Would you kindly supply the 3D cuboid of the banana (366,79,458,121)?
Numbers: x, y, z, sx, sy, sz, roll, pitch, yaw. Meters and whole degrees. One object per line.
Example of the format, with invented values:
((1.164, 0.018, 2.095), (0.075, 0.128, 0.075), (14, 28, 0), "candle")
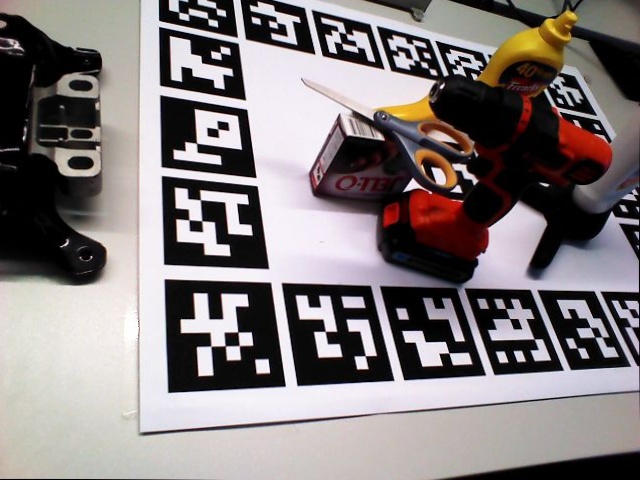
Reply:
((0.146, -0.201, 0.716), (0.074, 0.039, 0.196), (34, 50, 20), "banana")

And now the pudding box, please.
((0.056, -0.089, 0.575), (0.113, 0.090, 0.038), (8, 50, -22), "pudding box")

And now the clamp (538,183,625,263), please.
((0.342, -0.048, 0.702), (0.202, 0.037, 0.165), (-2, 63, -28), "clamp")

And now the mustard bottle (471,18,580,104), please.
((0.272, -0.216, 0.701), (0.096, 0.193, 0.058), (17, 54, -17), "mustard bottle")

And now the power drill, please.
((0.152, -0.052, 0.498), (0.184, 0.188, 0.057), (14, 48, -14), "power drill")

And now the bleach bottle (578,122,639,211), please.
((0.411, -0.113, 0.641), (0.102, 0.252, 0.068), (-18, 65, -26), "bleach bottle")

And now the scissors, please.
((0.071, -0.128, 0.524), (0.203, 0.016, 0.087), (28, 56, -13), "scissors")
